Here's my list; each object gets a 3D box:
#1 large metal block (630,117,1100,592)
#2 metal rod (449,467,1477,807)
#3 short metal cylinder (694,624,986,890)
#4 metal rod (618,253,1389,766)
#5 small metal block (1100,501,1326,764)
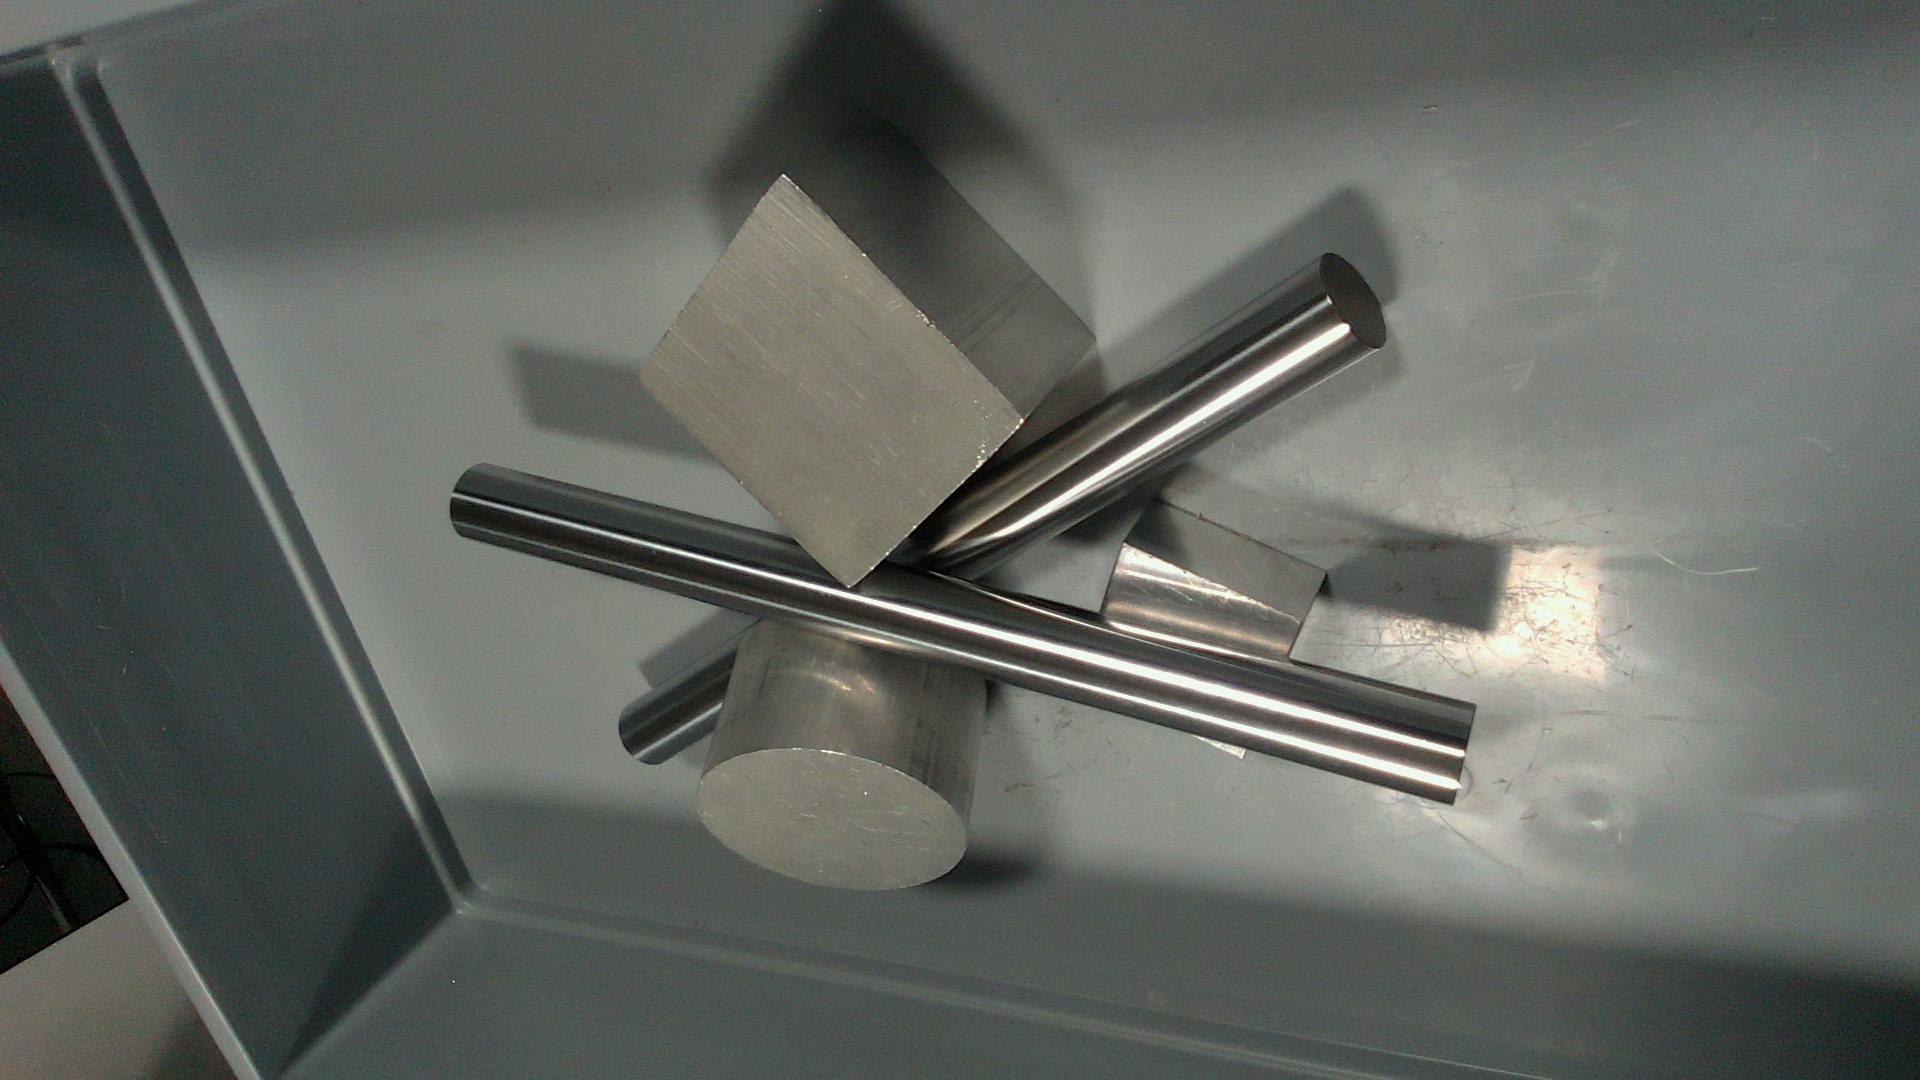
[{"bbox_3d":[-0.025,-0.047,0.359,0.080,0.050,0.080,45,129,-4],"label":"large metal block"},{"bbox_3d":[-0.016,0.020,0.380,0.299,0.025,0.025,13,124,21],"label":"metal rod"},{"bbox_3d":[-0.034,0.064,0.415,0.080,0.050,0.080,5,140,5],"label":"short metal cylinder"},{"bbox_3d":[-0.011,0.008,0.402,0.299,0.025,0.025,-31,101,38],"label":"metal rod"},{"bbox_3d":[0.064,0.025,0.370,0.050,0.025,0.050,24,127,14],"label":"small metal block"}]
